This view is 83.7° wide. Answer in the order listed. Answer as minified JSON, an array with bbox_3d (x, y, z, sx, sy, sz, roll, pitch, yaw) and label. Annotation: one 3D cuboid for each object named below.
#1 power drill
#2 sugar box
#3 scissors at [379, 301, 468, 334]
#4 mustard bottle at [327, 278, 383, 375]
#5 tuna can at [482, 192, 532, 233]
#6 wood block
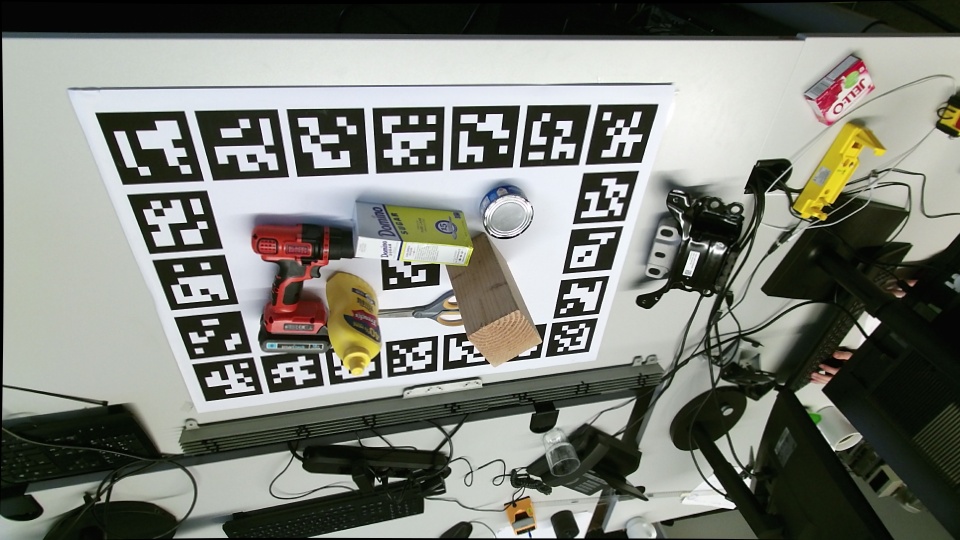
[{"bbox_3d":[-0.256,0.025,0.863,0.185,0.057,0.187,6,115,-21],"label":"power drill"},{"bbox_3d":[-0.108,-0.050,0.833,0.177,0.092,0.045,6,126,-18],"label":"sugar box"},{"bbox_3d":[-0.085,0.090,0.985,0.204,0.016,0.088,-4,129,-14],"label":"scissors"},{"bbox_3d":[-0.198,0.096,0.857,0.058,0.190,0.096,-39,125,10],"label":"mustard bottle"},{"bbox_3d":[0.048,-0.085,0.885,0.086,0.033,0.086,-7,125,-11],"label":"tuna can"},{"bbox_3d":[0.019,0.048,0.880,0.091,0.205,0.090,-29,126,4],"label":"wood block"}]
